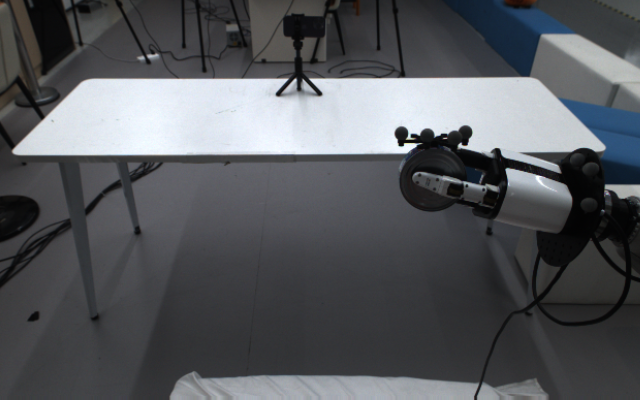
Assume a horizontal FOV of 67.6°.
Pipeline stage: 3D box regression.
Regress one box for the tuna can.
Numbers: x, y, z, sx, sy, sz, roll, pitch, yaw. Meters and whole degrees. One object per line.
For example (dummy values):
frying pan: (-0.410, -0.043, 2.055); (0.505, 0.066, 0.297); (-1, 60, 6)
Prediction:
tuna can: (0.147, -0.031, 0.636); (0.085, 0.085, 0.034); (4, 18, 3)
